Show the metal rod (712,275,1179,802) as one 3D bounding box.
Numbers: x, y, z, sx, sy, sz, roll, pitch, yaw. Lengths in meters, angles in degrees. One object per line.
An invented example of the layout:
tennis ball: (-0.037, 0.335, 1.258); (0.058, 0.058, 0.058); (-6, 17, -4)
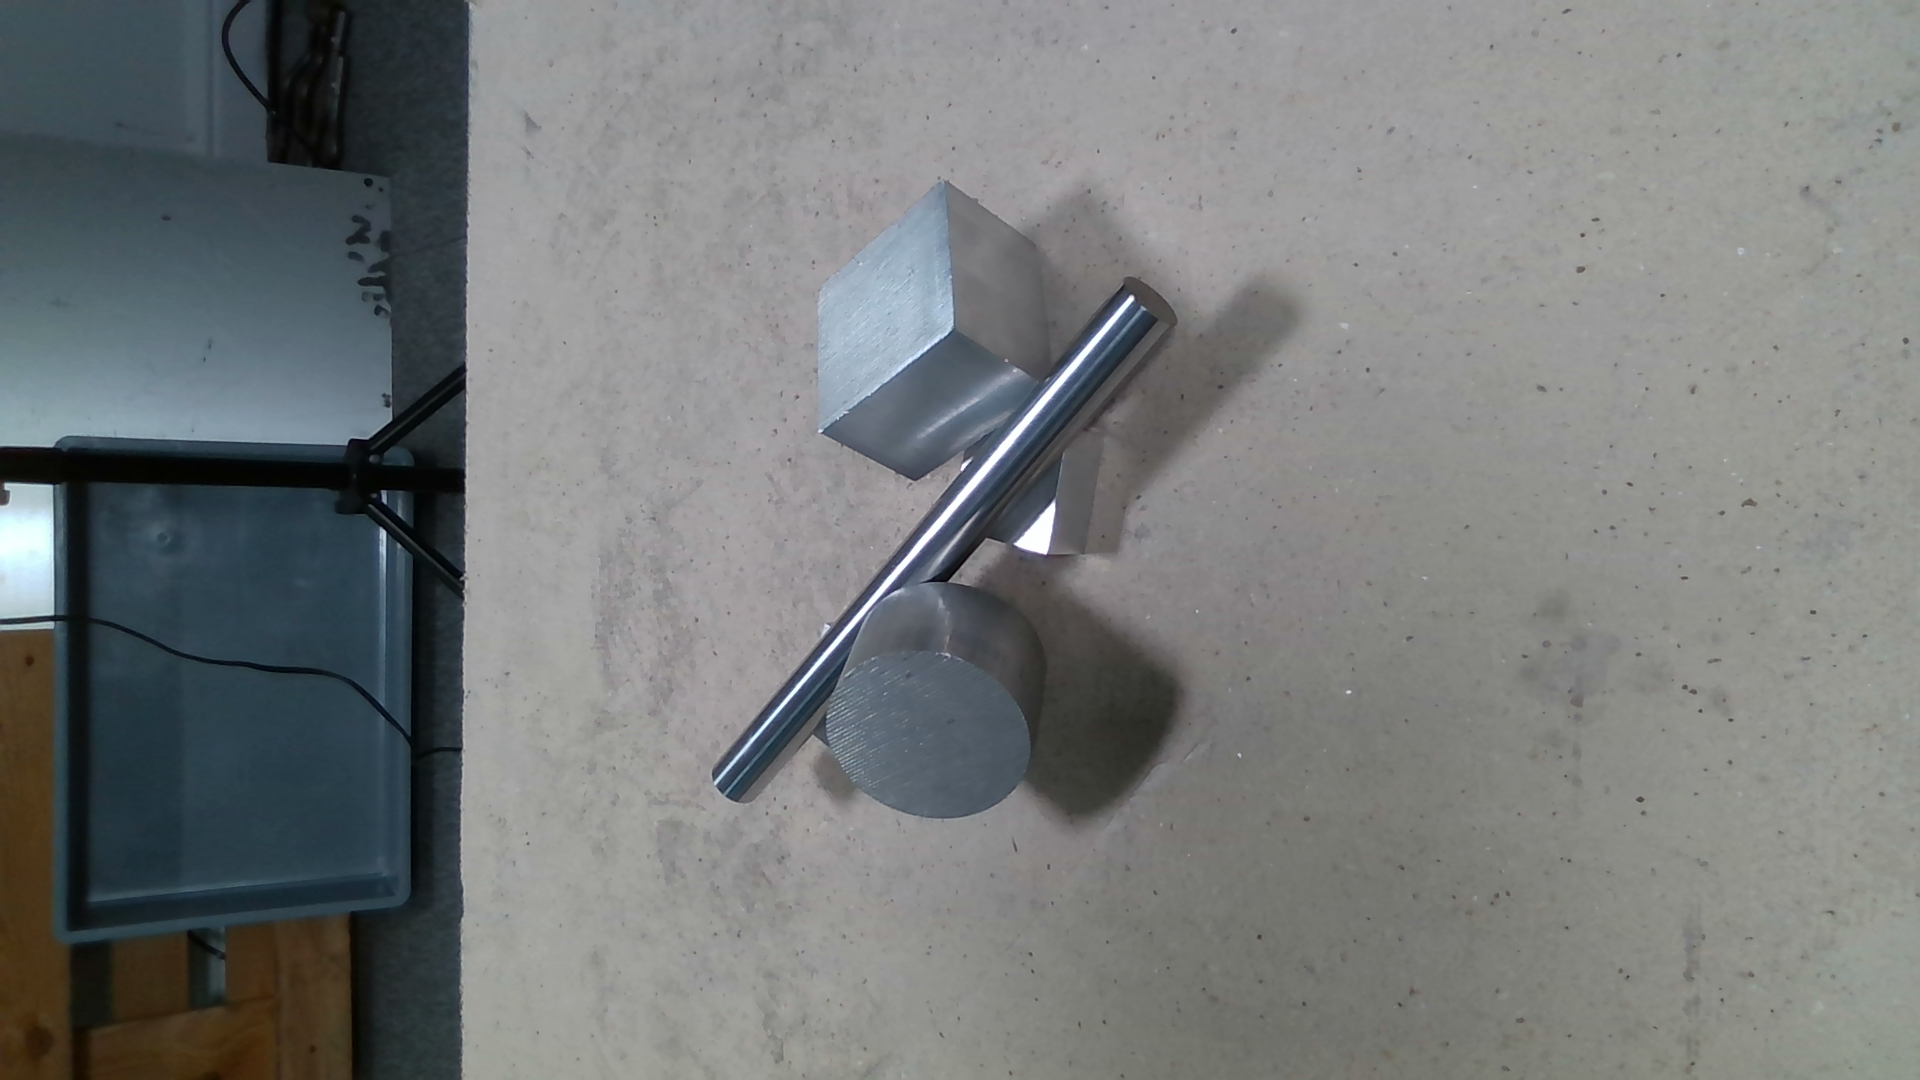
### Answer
metal rod: (-0.018, 0.013, 0.565); (0.301, 0.025, 0.025); (-49, 61, 29)

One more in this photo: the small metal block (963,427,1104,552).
small metal block: (0.027, -0.025, 0.560); (0.050, 0.025, 0.050); (16, 101, 39)

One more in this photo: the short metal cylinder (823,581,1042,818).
short metal cylinder: (-0.009, 0.063, 0.548); (0.080, 0.050, 0.080); (5, 120, 8)

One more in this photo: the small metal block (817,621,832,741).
small metal block: (-0.043, 0.070, 0.620); (0.050, 0.025, 0.050); (31, 110, 36)

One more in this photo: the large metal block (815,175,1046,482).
large metal block: (-0.014, -0.083, 0.555); (0.080, 0.050, 0.080); (-32, 47, 36)
